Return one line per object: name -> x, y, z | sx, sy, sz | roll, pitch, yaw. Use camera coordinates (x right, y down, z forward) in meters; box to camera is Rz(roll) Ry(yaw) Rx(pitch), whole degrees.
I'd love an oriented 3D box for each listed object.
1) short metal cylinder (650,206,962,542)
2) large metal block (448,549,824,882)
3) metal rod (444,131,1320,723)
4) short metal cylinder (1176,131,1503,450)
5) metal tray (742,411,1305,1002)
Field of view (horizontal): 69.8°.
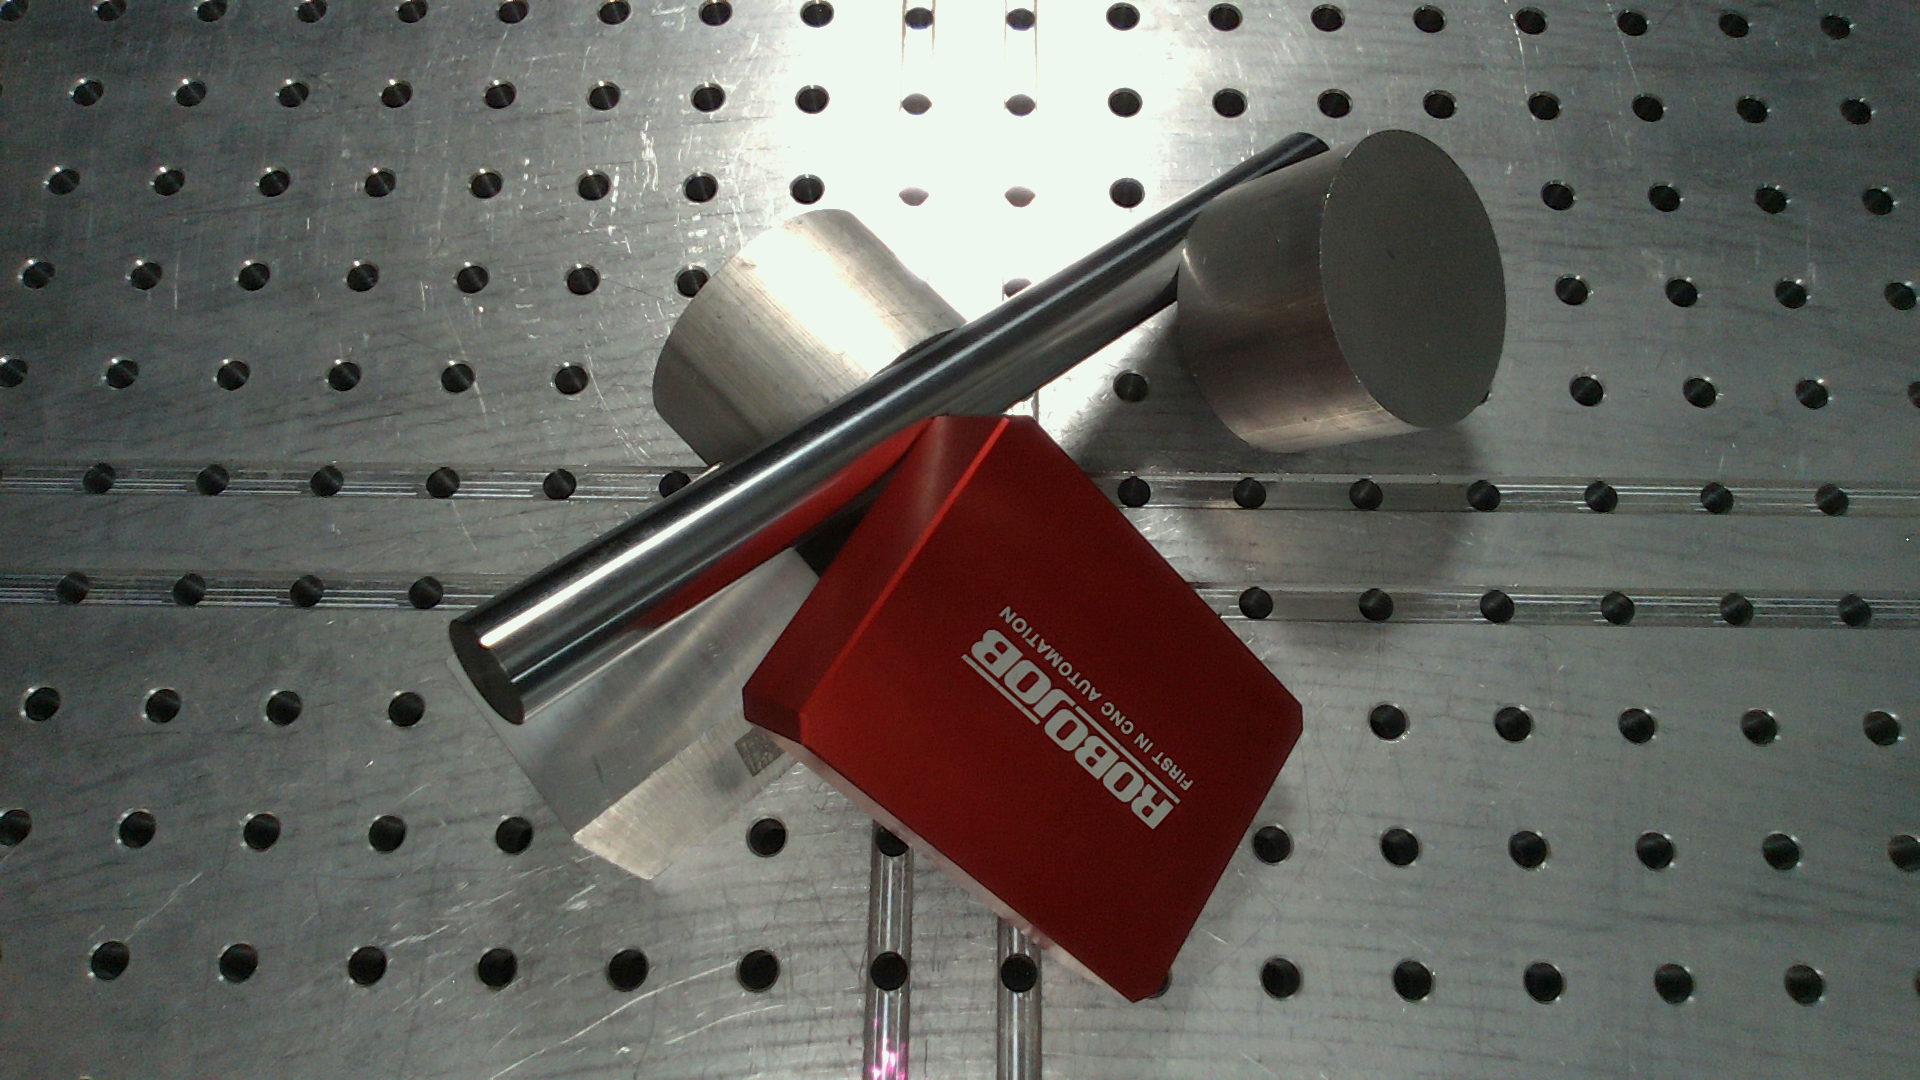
short metal cylinder -> -0.038, -0.045, 0.384 | 0.080, 0.080, 0.050 | -42, 75, -14
large metal block -> -0.070, 0.038, 0.354 | 0.080, 0.080, 0.050 | -38, 74, -13
metal rod -> 0.007, -0.046, 0.357 | 0.025, 0.025, 0.301 | 45, 55, 14
short metal cylinder -> 0.107, -0.068, 0.388 | 0.080, 0.050, 0.080 | 4, 84, -36
metal tray -> 0.022, 0.042, 0.337 | 0.130, 0.030, 0.090 | 44, 70, -29
